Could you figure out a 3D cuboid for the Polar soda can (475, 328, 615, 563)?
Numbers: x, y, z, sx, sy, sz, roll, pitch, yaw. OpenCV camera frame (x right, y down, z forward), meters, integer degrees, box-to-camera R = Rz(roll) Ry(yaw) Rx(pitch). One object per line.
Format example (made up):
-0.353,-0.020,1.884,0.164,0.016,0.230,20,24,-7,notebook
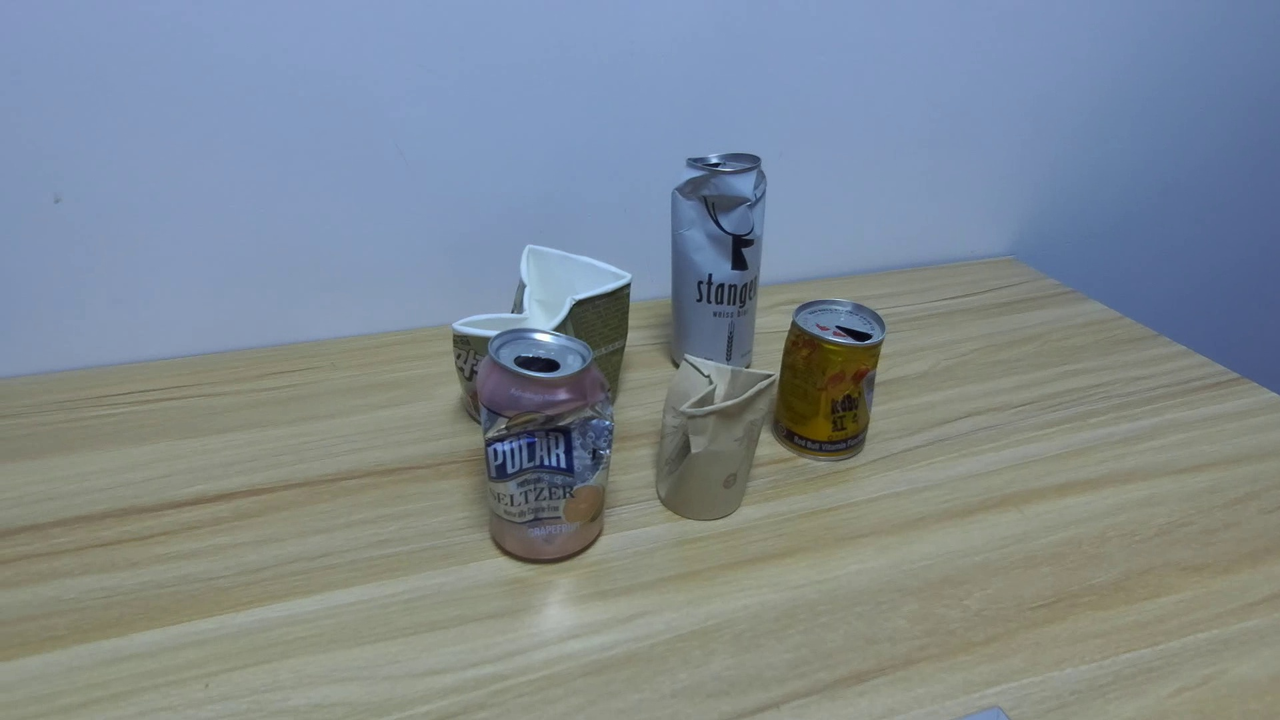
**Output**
-0.050,0.046,0.393,0.071,0.122,0.066,0,27,-3,Polar soda can

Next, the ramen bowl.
-0.077,-0.010,0.504,0.111,0.093,0.128,18,36,26,ramen bowl

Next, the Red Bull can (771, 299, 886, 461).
0.126,0.013,0.474,0.072,0.092,0.072,2,31,-1,Red Bull can

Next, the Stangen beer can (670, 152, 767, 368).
0.059,-0.070,0.538,0.065,0.166,0.066,10,31,17,Stangen beer can

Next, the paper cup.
0.037,0.046,0.426,0.058,0.083,0.067,24,37,37,paper cup
